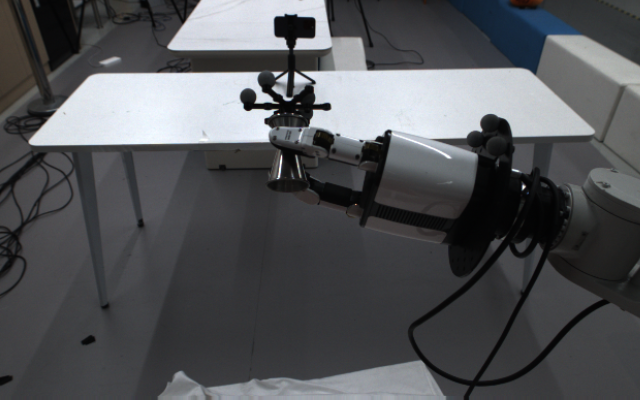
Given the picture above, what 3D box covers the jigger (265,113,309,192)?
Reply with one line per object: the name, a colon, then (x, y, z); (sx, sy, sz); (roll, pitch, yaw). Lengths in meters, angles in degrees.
jigger: (-0.031, -0.047, 0.478); (0.043, 0.043, 0.071); (0, 75, -3)
